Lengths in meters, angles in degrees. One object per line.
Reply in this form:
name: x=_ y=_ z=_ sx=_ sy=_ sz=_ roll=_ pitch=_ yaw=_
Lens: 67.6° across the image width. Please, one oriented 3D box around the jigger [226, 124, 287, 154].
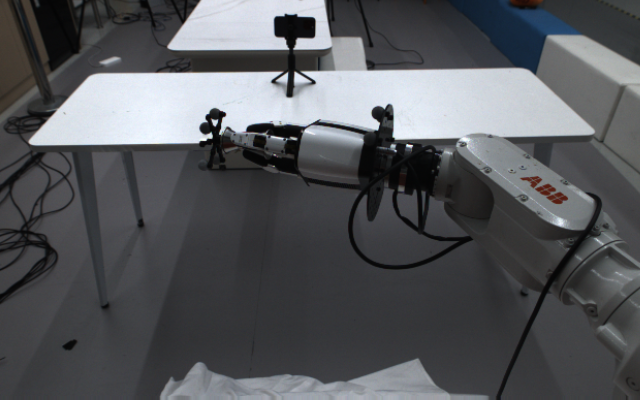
jigger: x=-0.099 y=-0.086 z=0.701 sx=0.071 sy=0.043 sz=0.043 roll=7 pitch=35 yaw=14
